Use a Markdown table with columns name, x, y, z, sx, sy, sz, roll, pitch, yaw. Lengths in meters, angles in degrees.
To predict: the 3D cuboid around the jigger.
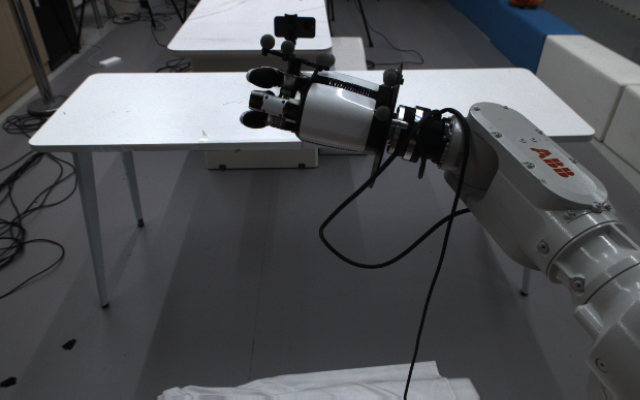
| name | x | y | z | sx | sy | sz | roll | pitch | yaw |
| --- | --- | --- | --- | --- | --- | --- | --- | --- | --- |
| jigger | -0.040 | -0.127 | 0.618 | 0.043 | 0.071 | 0.043 | 15 | 17 | -5 |
